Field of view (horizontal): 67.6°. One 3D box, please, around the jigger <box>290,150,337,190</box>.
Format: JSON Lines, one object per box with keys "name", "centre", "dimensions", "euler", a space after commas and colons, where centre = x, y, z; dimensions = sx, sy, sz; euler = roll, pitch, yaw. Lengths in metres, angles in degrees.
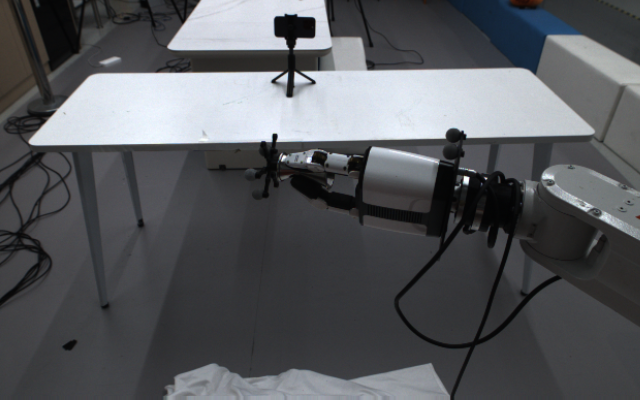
{"name": "jigger", "centre": [-0.012, -0.044, 0.632], "dimensions": [0.071, 0.043, 0.043], "euler": [8, 35, 15]}
